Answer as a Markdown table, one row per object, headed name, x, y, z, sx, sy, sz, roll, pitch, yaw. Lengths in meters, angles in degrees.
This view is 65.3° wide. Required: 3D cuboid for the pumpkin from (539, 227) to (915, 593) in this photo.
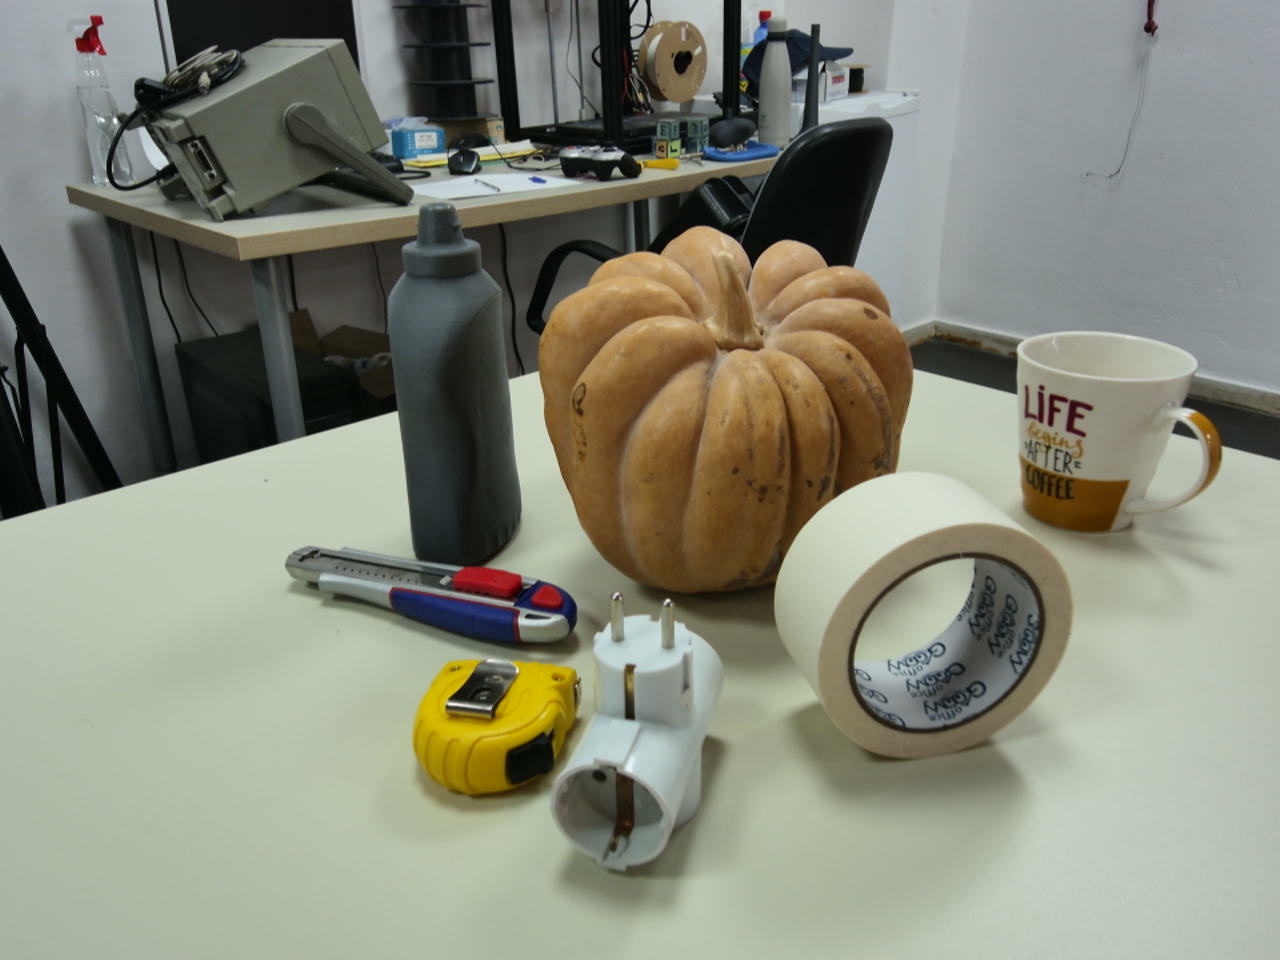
| name | x | y | z | sx | sy | sz | roll | pitch | yaw |
| --- | --- | --- | --- | --- | --- | --- | --- | --- | --- |
| pumpkin | 0.044 | -0.035 | 0.527 | 0.199 | 0.177 | 0.198 | -1 | 23 | 0 |
